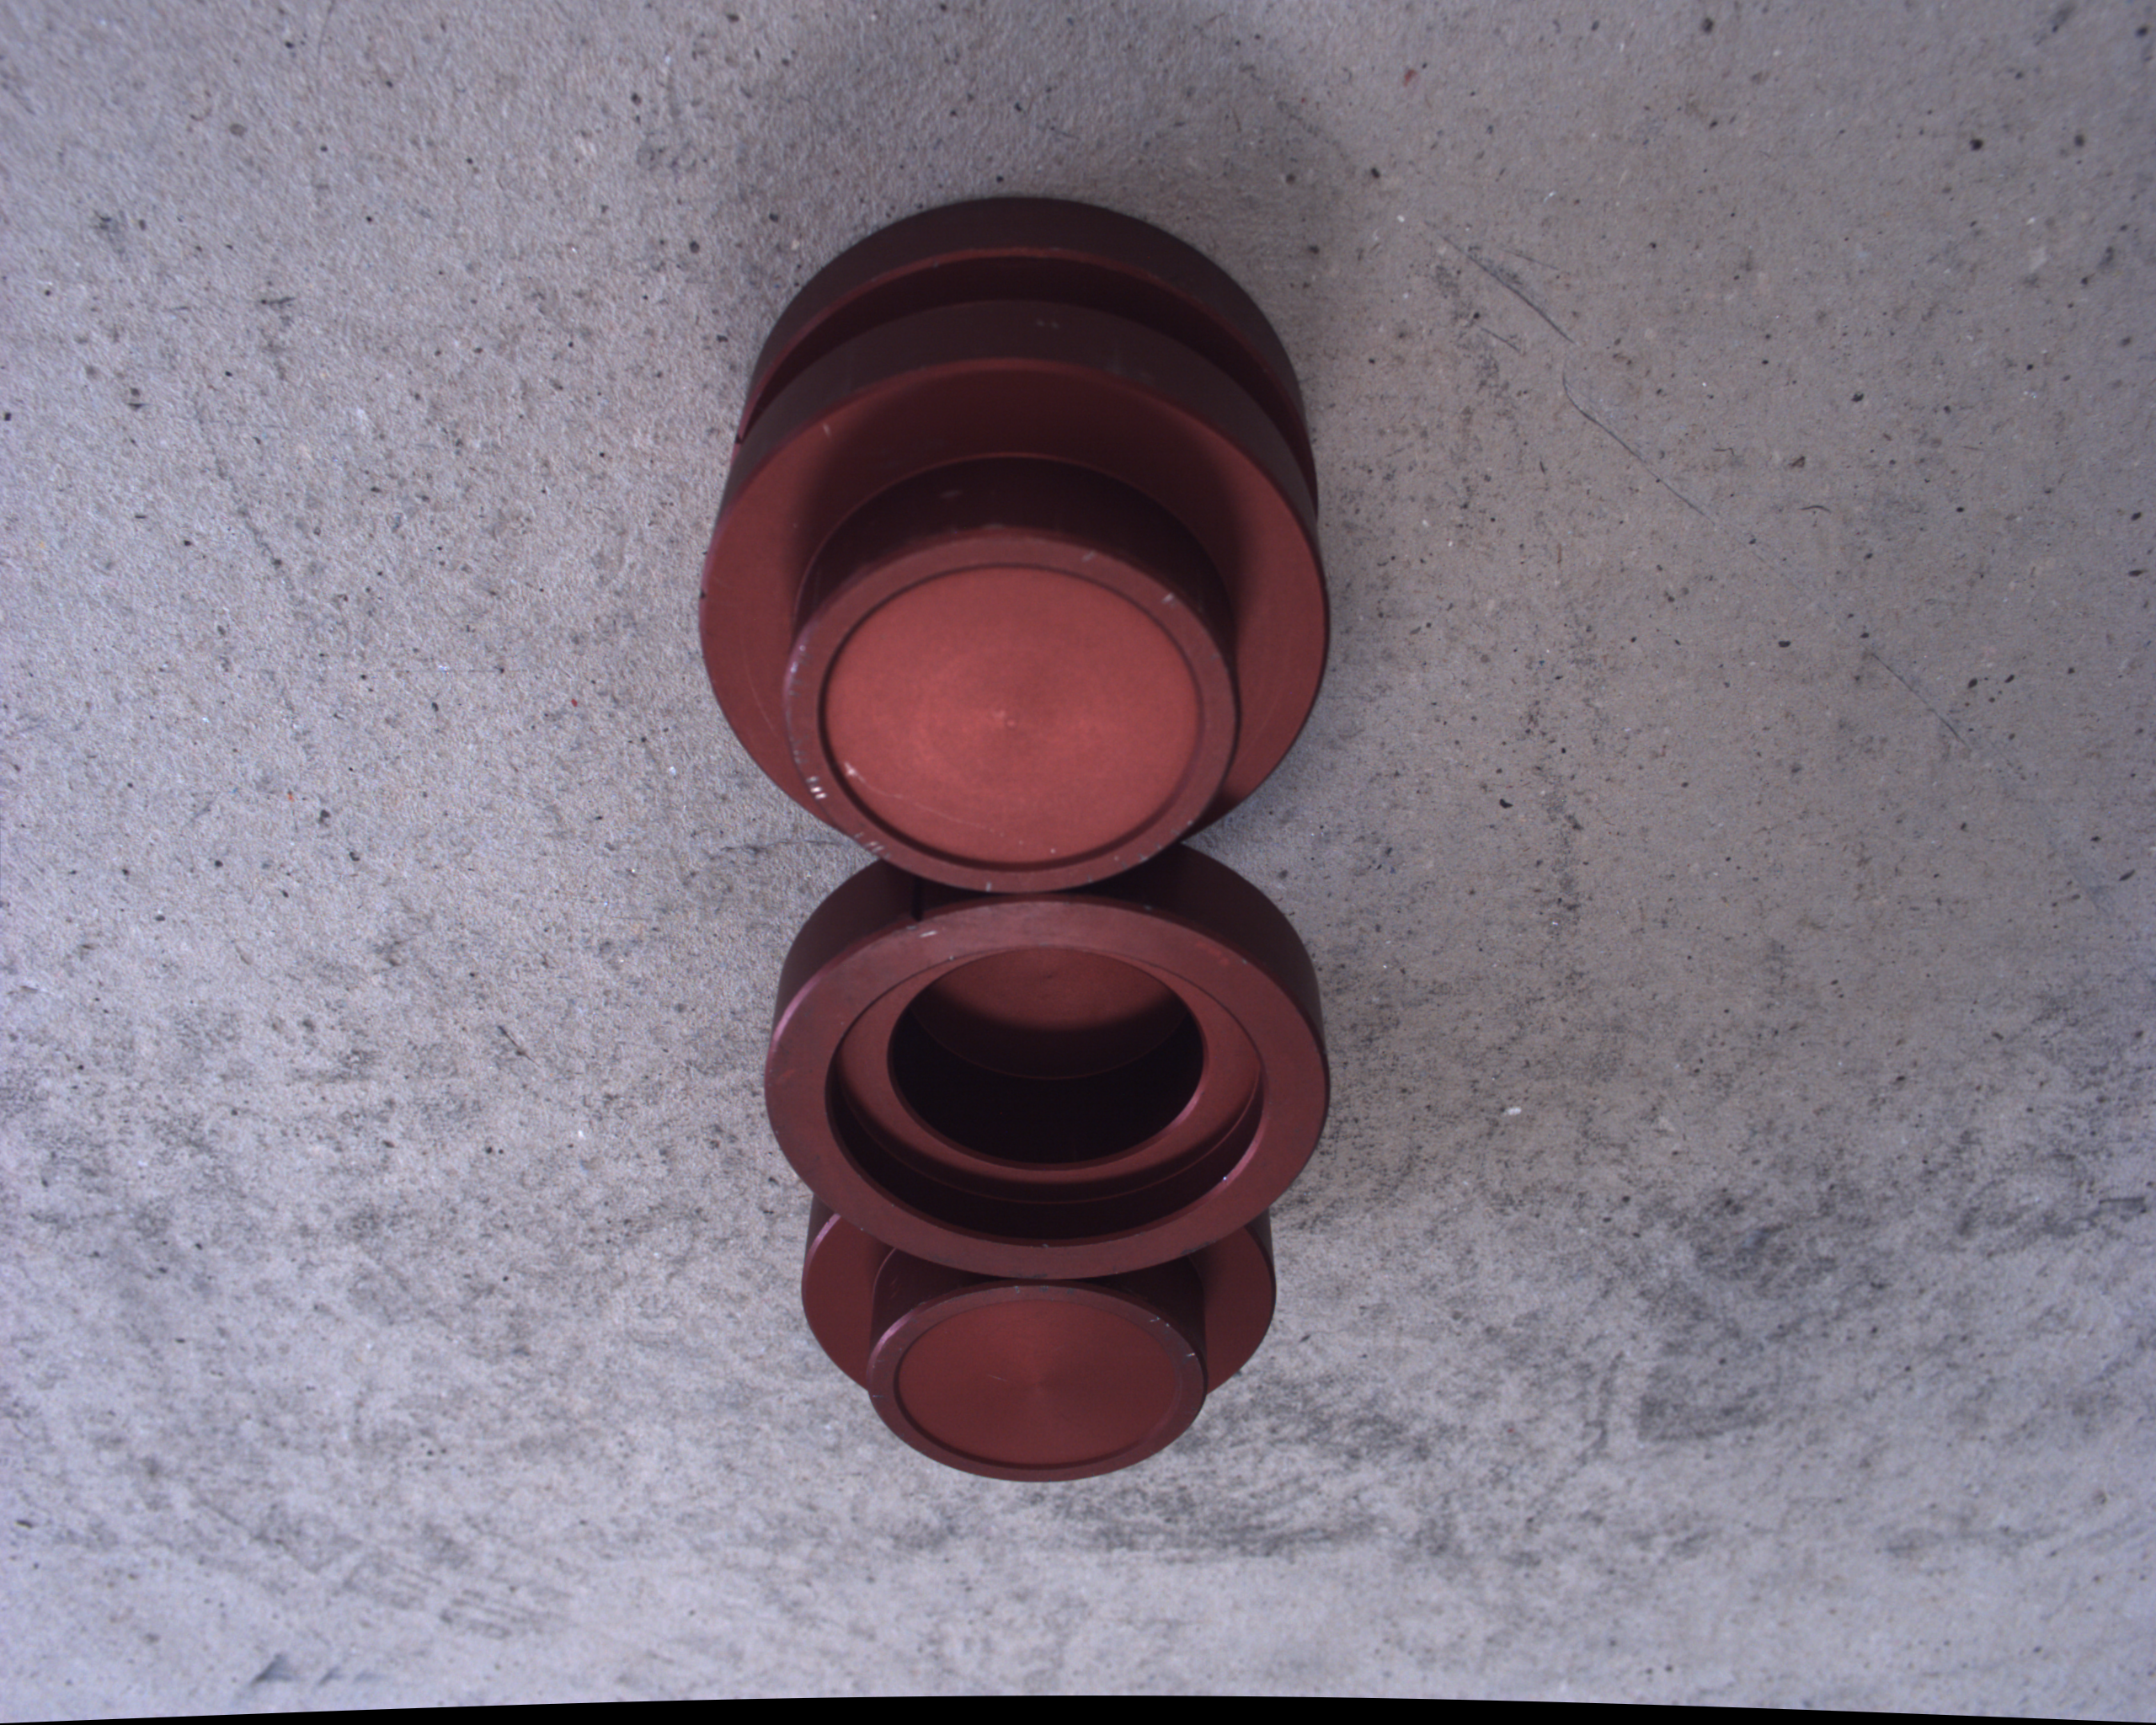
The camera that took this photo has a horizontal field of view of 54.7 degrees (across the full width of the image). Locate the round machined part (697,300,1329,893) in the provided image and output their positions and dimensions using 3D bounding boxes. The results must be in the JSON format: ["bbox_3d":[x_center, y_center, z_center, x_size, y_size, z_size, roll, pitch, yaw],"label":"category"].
[{"bbox_3d":[-0.010,-0.034,0.326,0.099,0.042,0.097,0,131,1],"label":"round machined part"}]

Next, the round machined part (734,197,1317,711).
[{"bbox_3d":[-0.009,-0.056,0.349,0.099,0.042,0.097,1,131,1],"label":"round machined part"}]

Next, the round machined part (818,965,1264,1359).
[{"bbox_3d":[-0.008,0.072,0.460,0.099,0.042,0.097,0,129,1],"label":"round machined part"}]

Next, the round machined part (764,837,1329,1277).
[{"bbox_3d":[-0.005,0.029,0.380,0.099,0.042,0.097,0,130,0],"label":"round machined part"}]

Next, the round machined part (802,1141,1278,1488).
[{"bbox_3d":[-0.008,0.093,0.432,0.099,0.042,0.097,0,131,1],"label":"round machined part"}]
